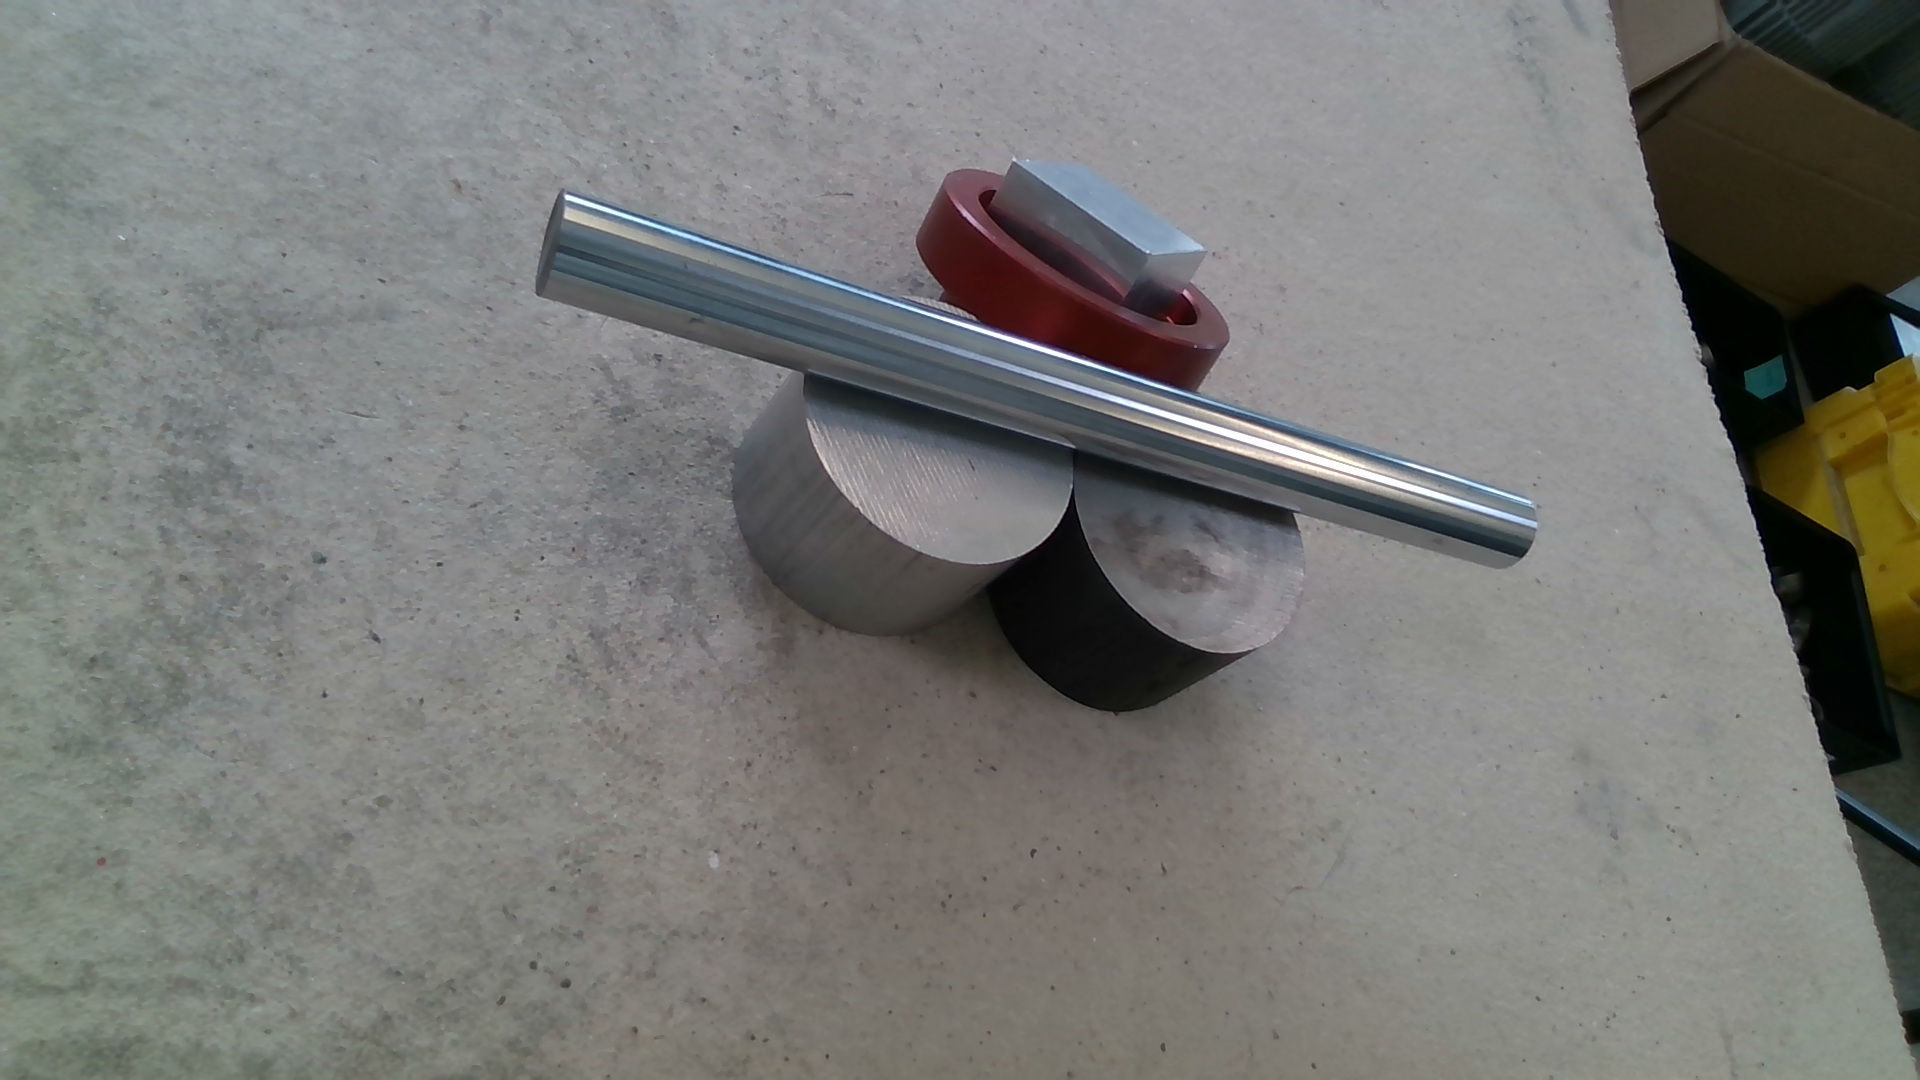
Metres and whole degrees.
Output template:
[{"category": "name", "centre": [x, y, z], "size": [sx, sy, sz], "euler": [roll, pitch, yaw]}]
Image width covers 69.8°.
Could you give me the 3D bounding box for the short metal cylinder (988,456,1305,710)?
[{"category": "short metal cylinder", "centre": [0.054, 0.005, 0.409], "size": [0.080, 0.050, 0.080], "euler": [14, 59, -25]}]

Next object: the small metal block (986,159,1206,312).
[{"category": "small metal block", "centre": [0.040, -0.089, 0.413], "size": [0.050, 0.025, 0.050], "euler": [38, 26, 16]}]

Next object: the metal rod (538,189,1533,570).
[{"category": "metal rod", "centre": [0.040, -0.035, 0.373], "size": [0.300, 0.025, 0.025], "euler": [14, 59, -26]}]

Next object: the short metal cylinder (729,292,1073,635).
[{"category": "short metal cylinder", "centre": [-0.016, -0.020, 0.378], "size": [0.080, 0.050, 0.080], "euler": [15, 58, -26]}]

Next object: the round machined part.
[{"category": "round machined part", "centre": [0.030, -0.070, 0.422], "size": [0.098, 0.042, 0.098], "euler": [24, 26, -13]}]
